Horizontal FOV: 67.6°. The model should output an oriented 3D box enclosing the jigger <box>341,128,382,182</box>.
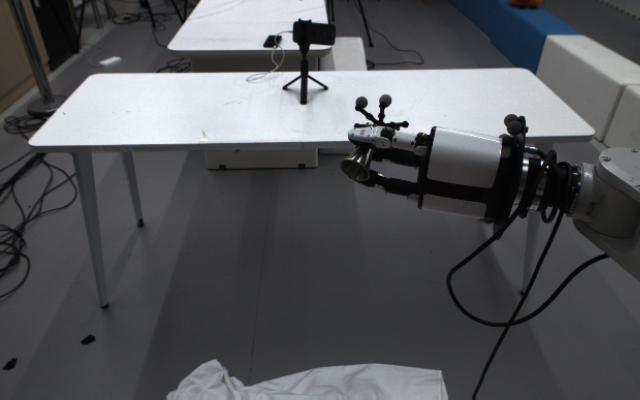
[{"bbox_3d":[0.059,-0.069,0.651,0.043,0.043,0.071,19,61,23],"label":"jigger"}]
